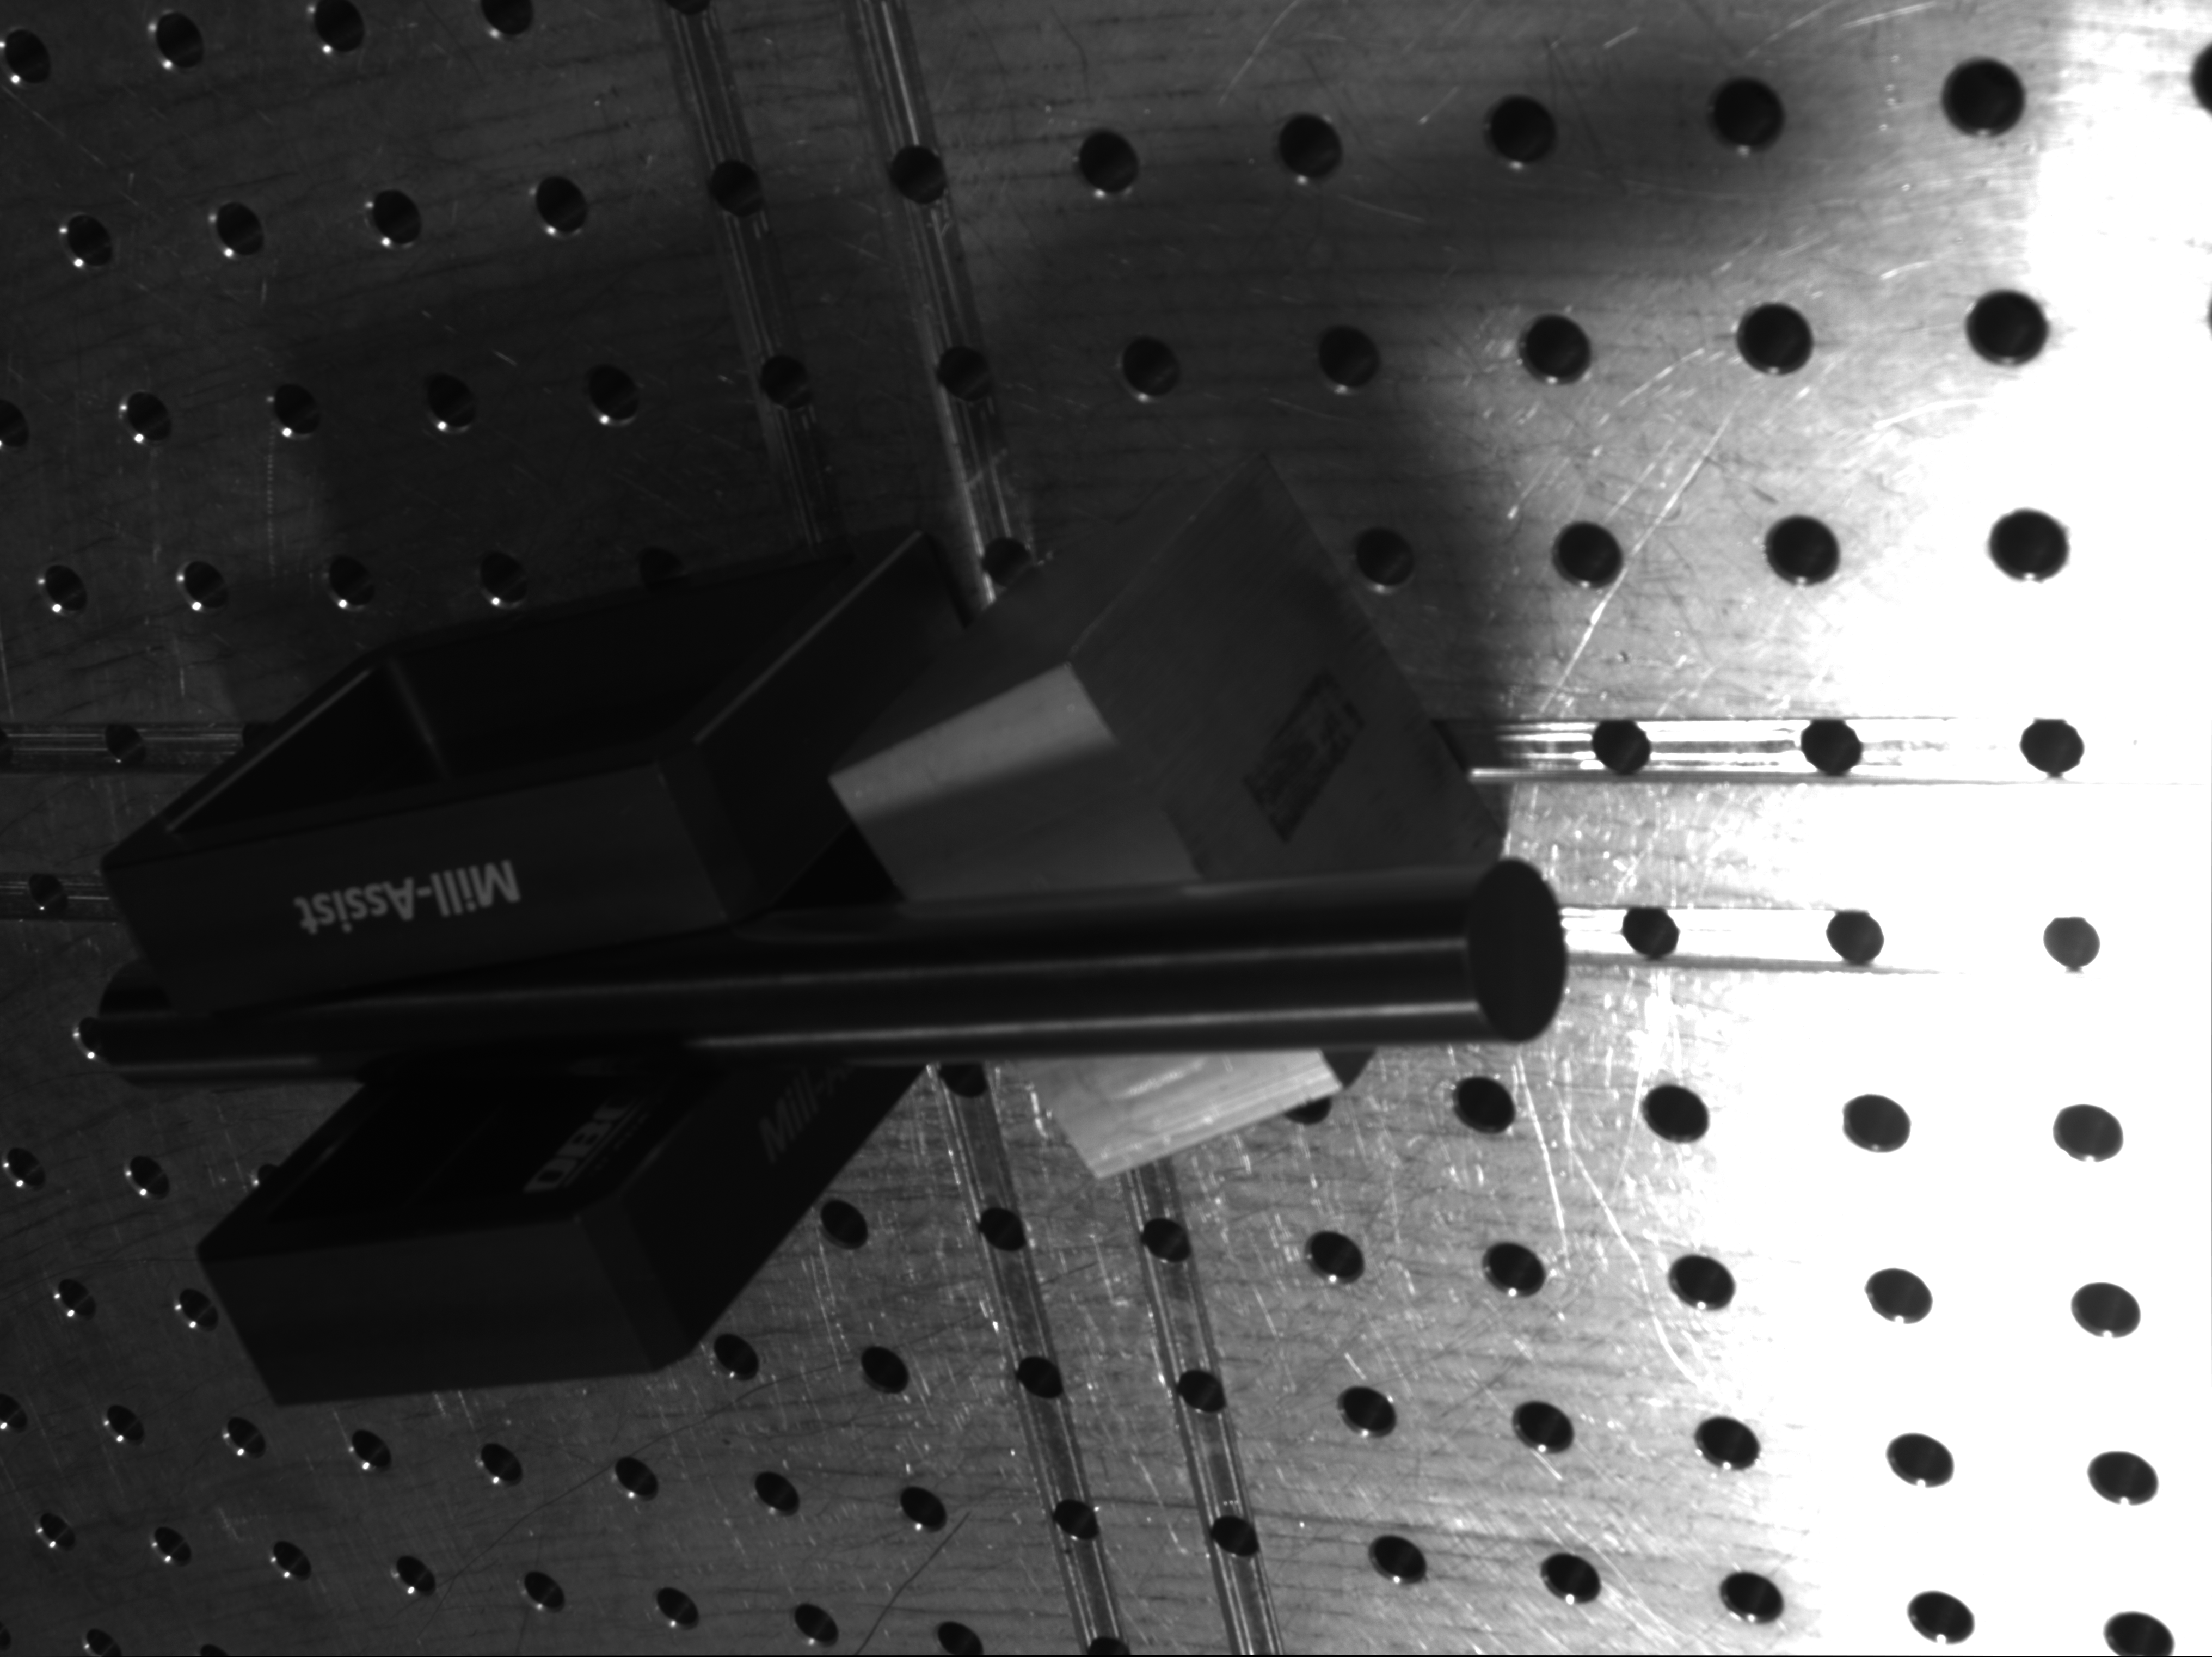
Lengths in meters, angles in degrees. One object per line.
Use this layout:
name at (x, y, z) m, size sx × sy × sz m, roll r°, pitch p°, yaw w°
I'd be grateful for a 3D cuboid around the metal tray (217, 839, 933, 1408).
metal tray at (-0.081, 0.047, 0.636) m, size 0.090 × 0.130 × 0.030 m, roll -10°, pitch 114°, yaw 31°

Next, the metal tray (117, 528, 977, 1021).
metal tray at (-0.094, -0.009, 0.633) m, size 0.130 × 0.090 × 0.030 m, roll -9°, pitch 115°, yaw 31°

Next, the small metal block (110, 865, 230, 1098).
small metal block at (-0.157, 0.016, 0.706) m, size 0.025 × 0.050 × 0.050 m, roll -8°, pitch 114°, yaw 30°

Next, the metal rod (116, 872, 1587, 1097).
metal rod at (-0.058, 0.028, 0.584) m, size 0.299 × 0.025 × 0.025 m, roll -5°, pitch 116°, yaw 39°

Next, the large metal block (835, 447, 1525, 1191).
large metal block at (0.014, -0.002, 0.589) m, size 0.050 × 0.080 × 0.080 m, roll -24°, pitch 105°, yaw 35°
